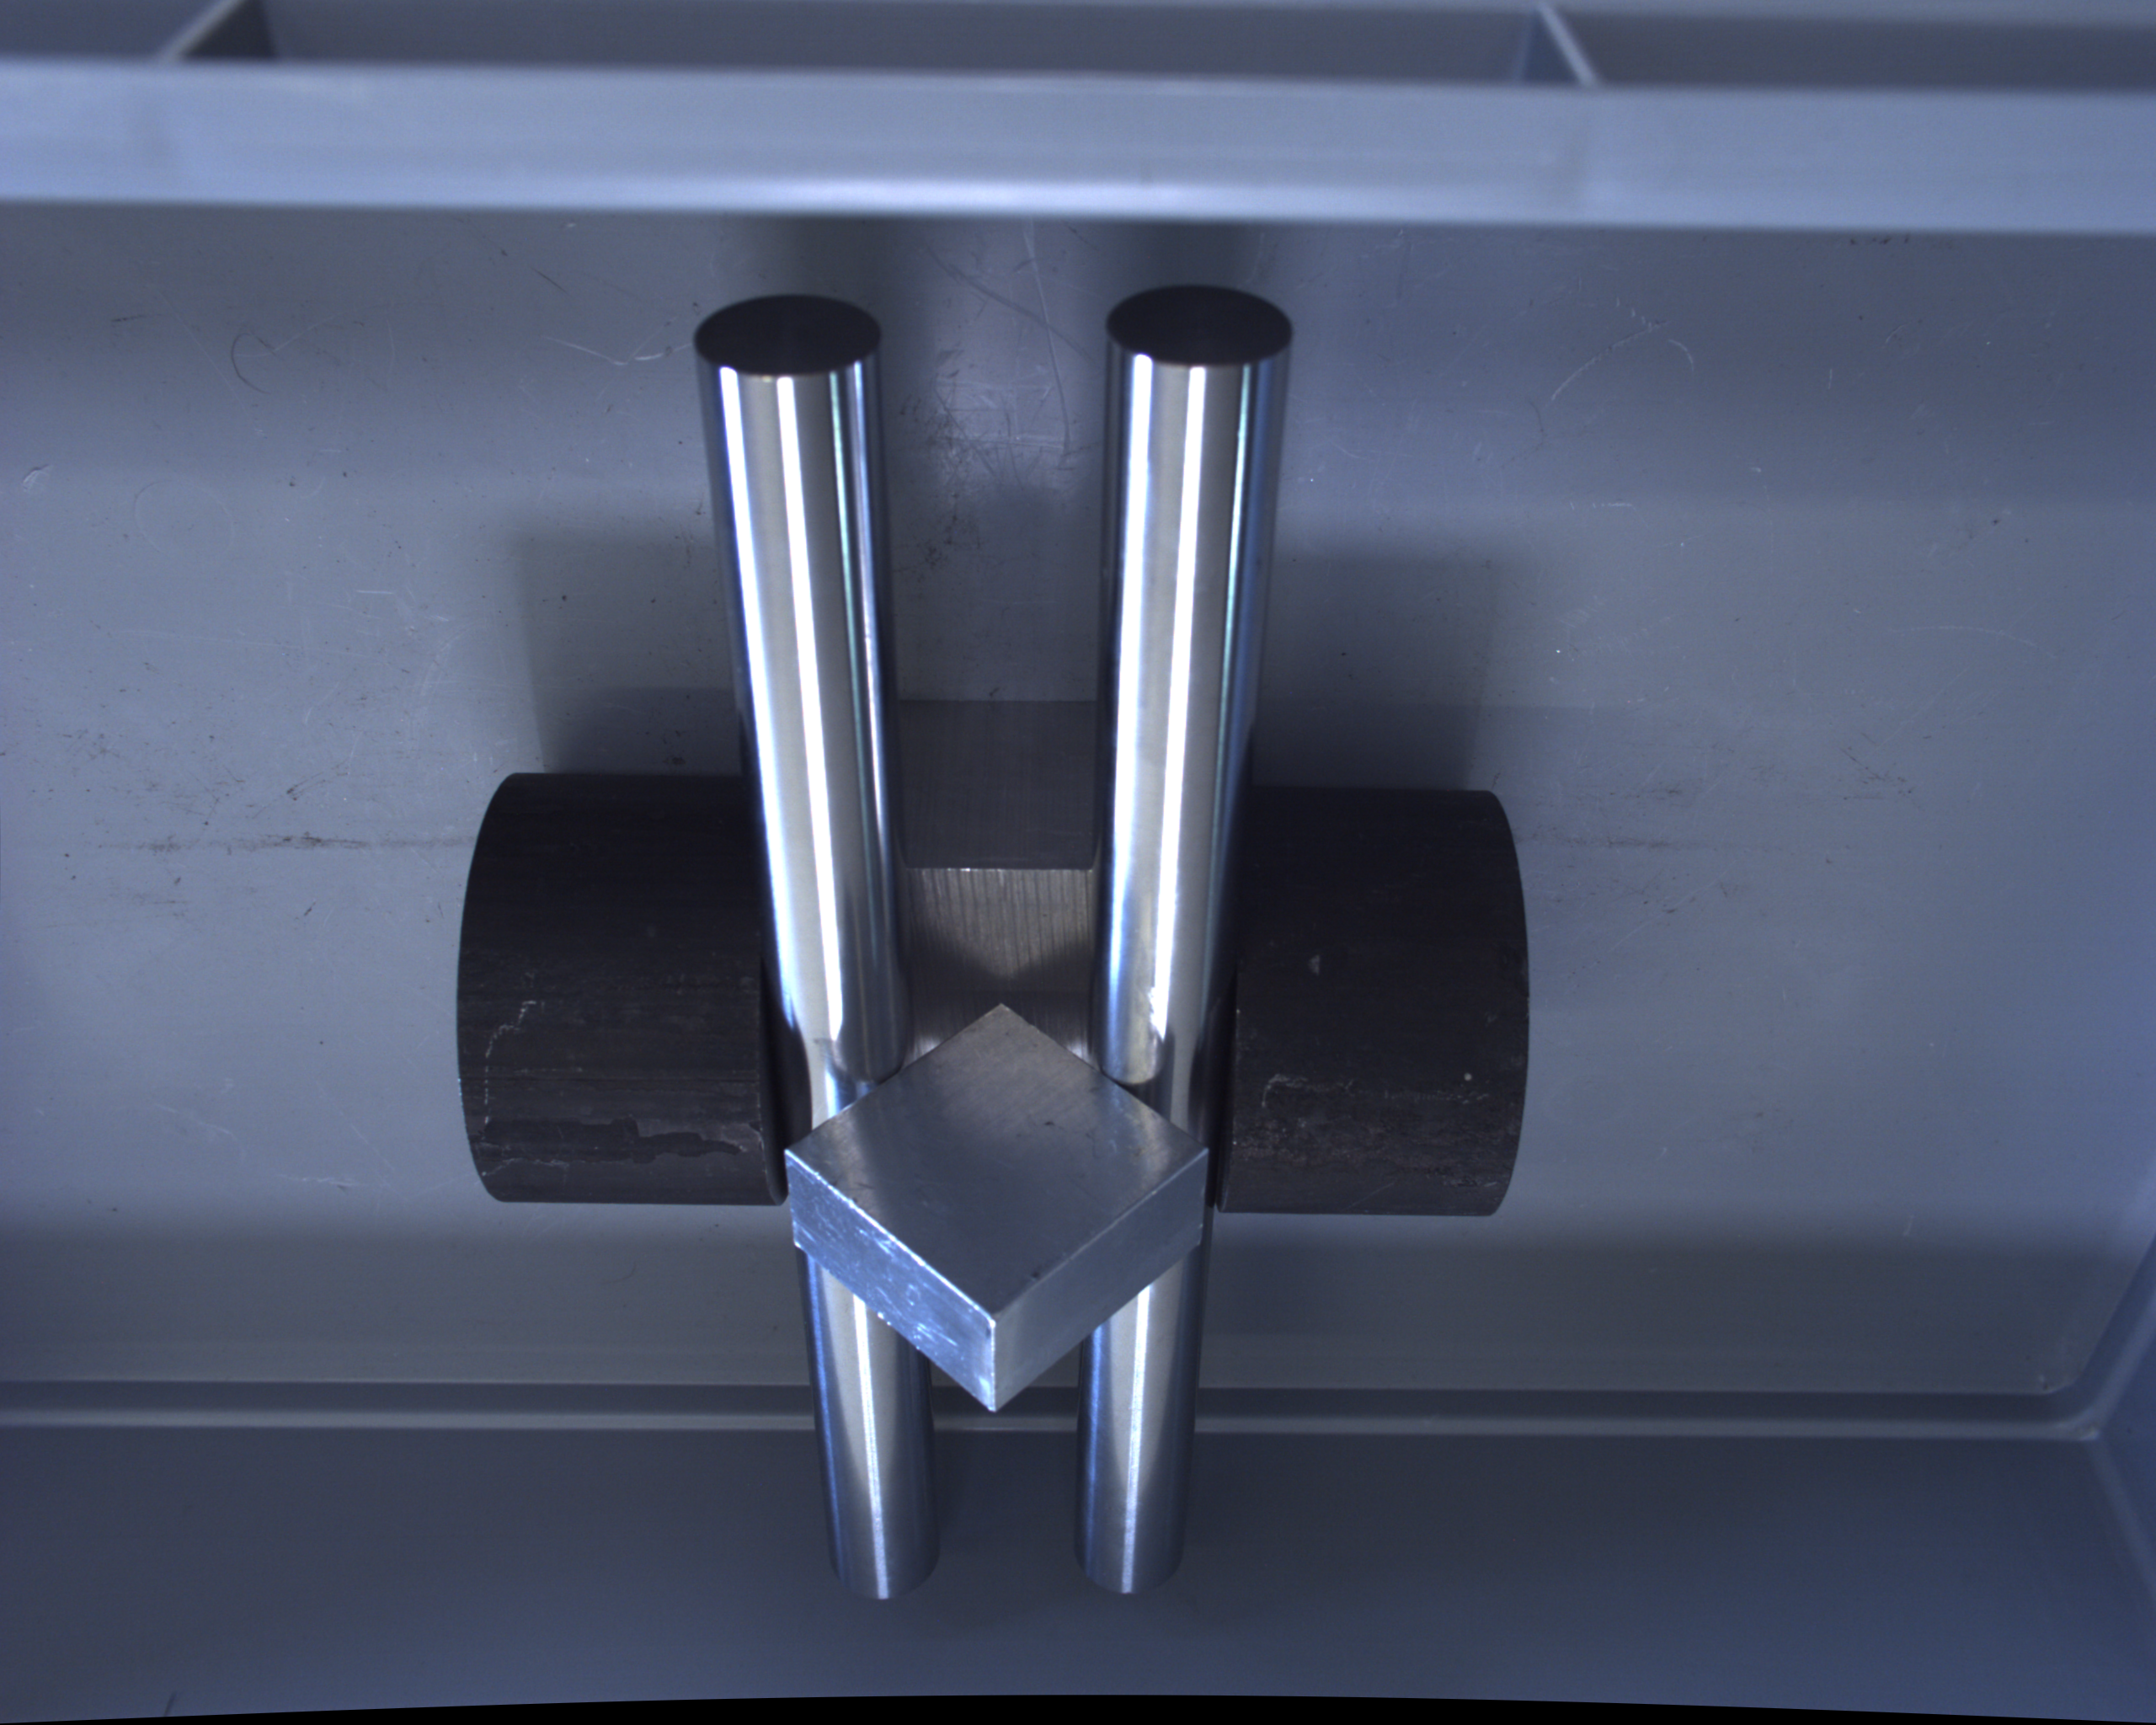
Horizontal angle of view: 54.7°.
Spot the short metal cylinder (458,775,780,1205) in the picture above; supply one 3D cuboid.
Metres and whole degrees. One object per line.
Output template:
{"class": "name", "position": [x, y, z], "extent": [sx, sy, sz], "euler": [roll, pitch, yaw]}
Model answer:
{"class": "short metal cylinder", "position": [-0.080, 0.023, 0.390], "extent": [0.050, 0.080, 0.079], "euler": [1, 130, -1]}

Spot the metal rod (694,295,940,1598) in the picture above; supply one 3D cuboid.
{"class": "metal rod", "position": [-0.041, 0.042, 0.377], "extent": [0.025, 0.025, 0.298], "euler": [0, 130, -1]}

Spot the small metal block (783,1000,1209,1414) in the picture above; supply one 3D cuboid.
{"class": "small metal block", "position": [-0.014, 0.057, 0.357], "extent": [0.050, 0.050, 0.025], "euler": [33, 140, 31]}

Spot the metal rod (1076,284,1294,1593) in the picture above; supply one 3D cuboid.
{"class": "metal rod", "position": [0.014, 0.041, 0.377], "extent": [0.025, 0.025, 0.298], "euler": [0, 130, -1]}

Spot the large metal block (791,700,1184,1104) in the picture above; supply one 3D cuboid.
{"class": "large metal block", "position": [-0.014, 0.016, 0.404], "extent": [0.081, 0.050, 0.079], "euler": [1, 130, -1]}

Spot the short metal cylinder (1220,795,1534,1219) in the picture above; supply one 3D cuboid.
{"class": "short metal cylinder", "position": [0.052, 0.027, 0.394], "extent": [0.050, 0.080, 0.079], "euler": [1, 130, 0]}
